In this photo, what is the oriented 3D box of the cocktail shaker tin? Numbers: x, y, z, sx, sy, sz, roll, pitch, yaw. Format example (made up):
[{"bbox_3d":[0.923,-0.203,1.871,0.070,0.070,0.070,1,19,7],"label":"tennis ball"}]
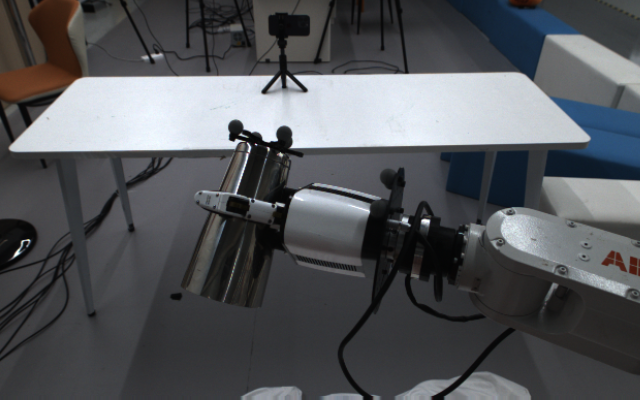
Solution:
[{"bbox_3d":[-0.087,0.026,0.548,0.093,0.170,0.093,15,-6,2],"label":"cocktail shaker tin"}]
